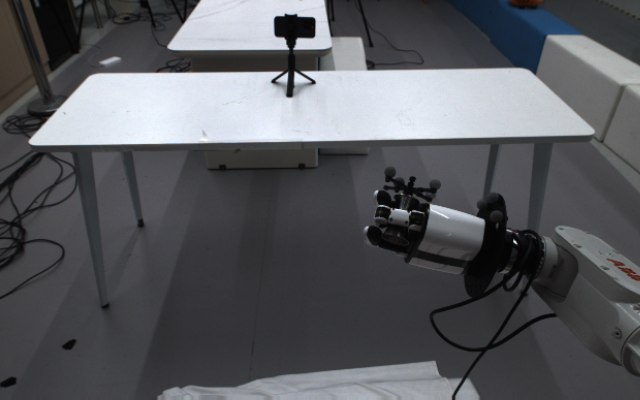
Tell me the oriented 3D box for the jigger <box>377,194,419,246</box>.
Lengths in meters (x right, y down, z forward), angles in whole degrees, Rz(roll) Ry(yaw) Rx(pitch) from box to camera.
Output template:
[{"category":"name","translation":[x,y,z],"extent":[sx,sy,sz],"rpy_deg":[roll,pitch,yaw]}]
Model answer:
[{"category":"jigger","translation":[0.124,0.028,0.732],"extent":[0.043,0.043,0.071],"rpy_deg":[13,72,15]}]
